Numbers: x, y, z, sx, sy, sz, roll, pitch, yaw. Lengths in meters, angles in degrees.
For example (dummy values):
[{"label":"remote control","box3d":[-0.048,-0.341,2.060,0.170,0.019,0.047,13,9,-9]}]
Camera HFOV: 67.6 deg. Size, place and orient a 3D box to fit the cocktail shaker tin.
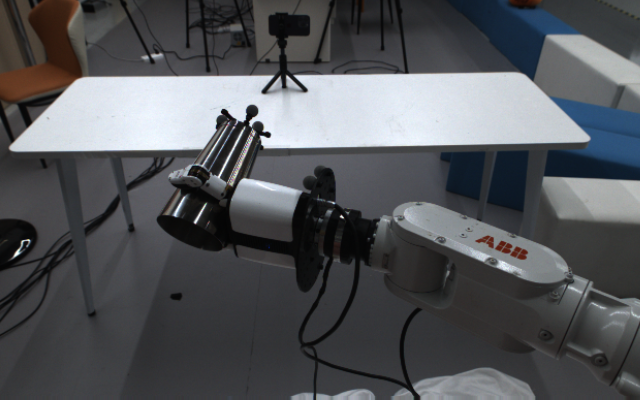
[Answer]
[{"label":"cocktail shaker tin","box3d":[-0.145,-0.025,0.665,0.093,0.093,0.170,13,61,16]}]
